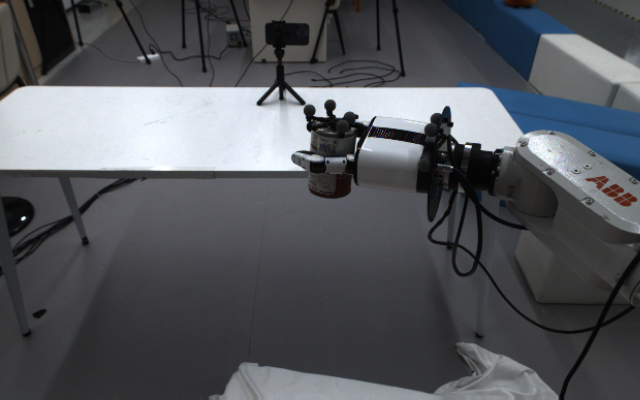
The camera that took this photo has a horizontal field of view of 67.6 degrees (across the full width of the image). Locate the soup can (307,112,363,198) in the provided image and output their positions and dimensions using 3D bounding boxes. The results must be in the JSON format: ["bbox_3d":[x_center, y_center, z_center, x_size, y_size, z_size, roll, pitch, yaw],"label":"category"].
[{"bbox_3d":[0.018,-0.062,0.715,0.067,0.101,0.067,4,30,-2],"label":"soup can"}]
